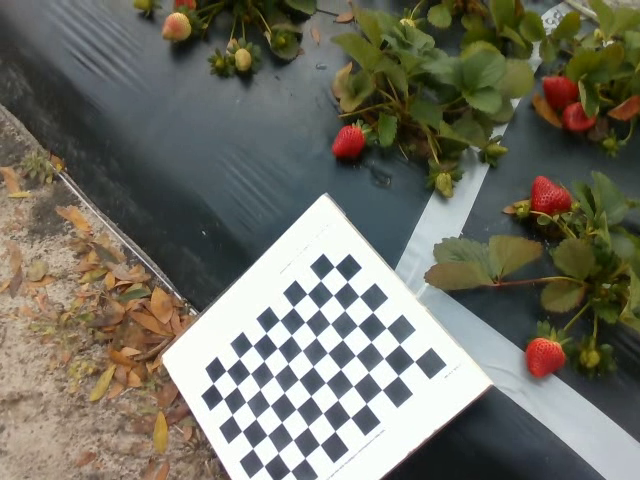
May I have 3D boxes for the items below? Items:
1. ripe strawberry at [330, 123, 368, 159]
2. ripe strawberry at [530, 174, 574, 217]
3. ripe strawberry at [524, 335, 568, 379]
[{"bbox_3d":[0.032,-0.110,0.789,0.046,0.040,0.036,-26,40,-32],"label":"ripe strawberry"},{"bbox_3d":[0.249,-0.050,0.764,0.043,0.062,0.043,-31,-33,22],"label":"ripe strawberry"},{"bbox_3d":[0.211,0.112,0.672,0.039,0.047,0.041,6,-19,38],"label":"ripe strawberry"}]
